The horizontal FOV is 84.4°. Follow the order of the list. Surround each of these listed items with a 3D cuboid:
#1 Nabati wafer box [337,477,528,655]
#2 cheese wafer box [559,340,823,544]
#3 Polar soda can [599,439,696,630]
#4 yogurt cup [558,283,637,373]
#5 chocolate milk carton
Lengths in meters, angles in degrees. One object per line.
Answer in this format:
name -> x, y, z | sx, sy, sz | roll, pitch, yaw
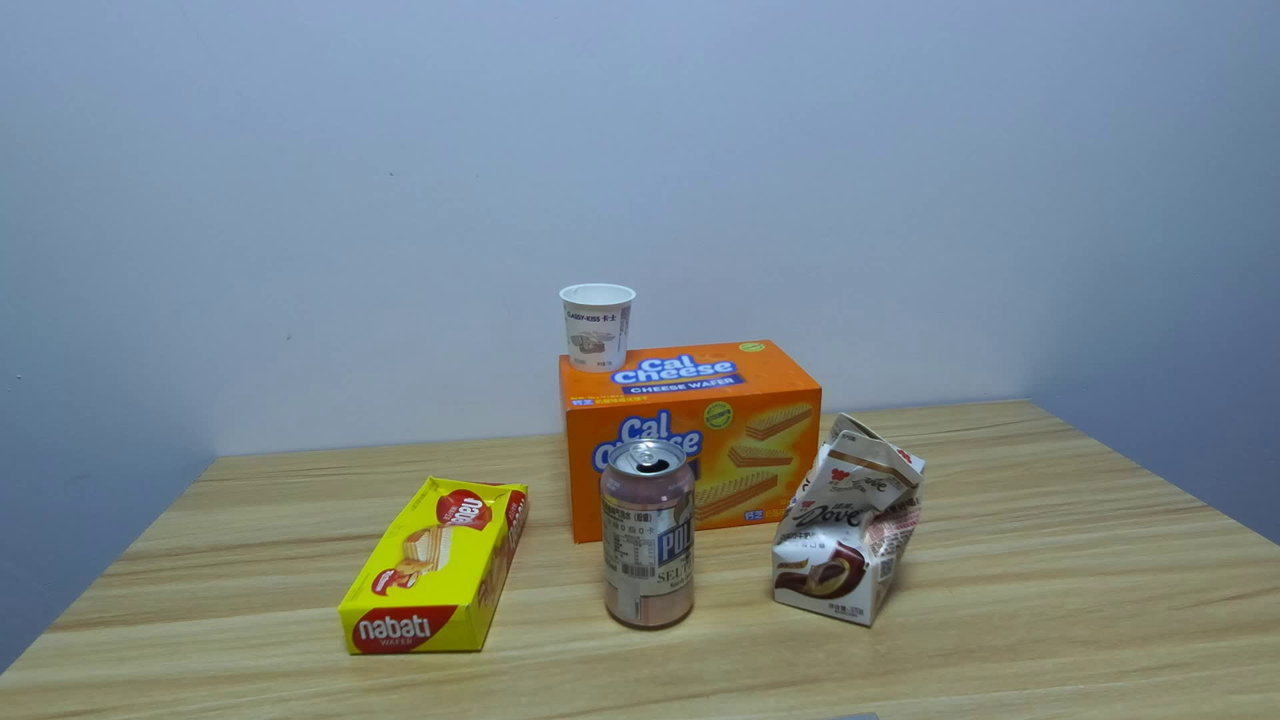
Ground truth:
Nabati wafer box -> -0.154, 0.152, 0.571 | 0.096, 0.042, 0.203 | -2, 18, 3
cheese wafer box -> 0.039, 0.069, 0.667 | 0.222, 0.129, 0.148 | -4, 20, -9
Polar soda can -> 0.006, 0.125, 0.509 | 0.067, 0.125, 0.067 | -1, 18, 1
yogurt cup -> -0.039, -0.029, 0.653 | 0.072, 0.068, 0.072 | 1, 20, 0
chocolate milk carton -> 0.152, 0.112, 0.509 | 0.089, 0.155, 0.077 | 20, 29, 16
